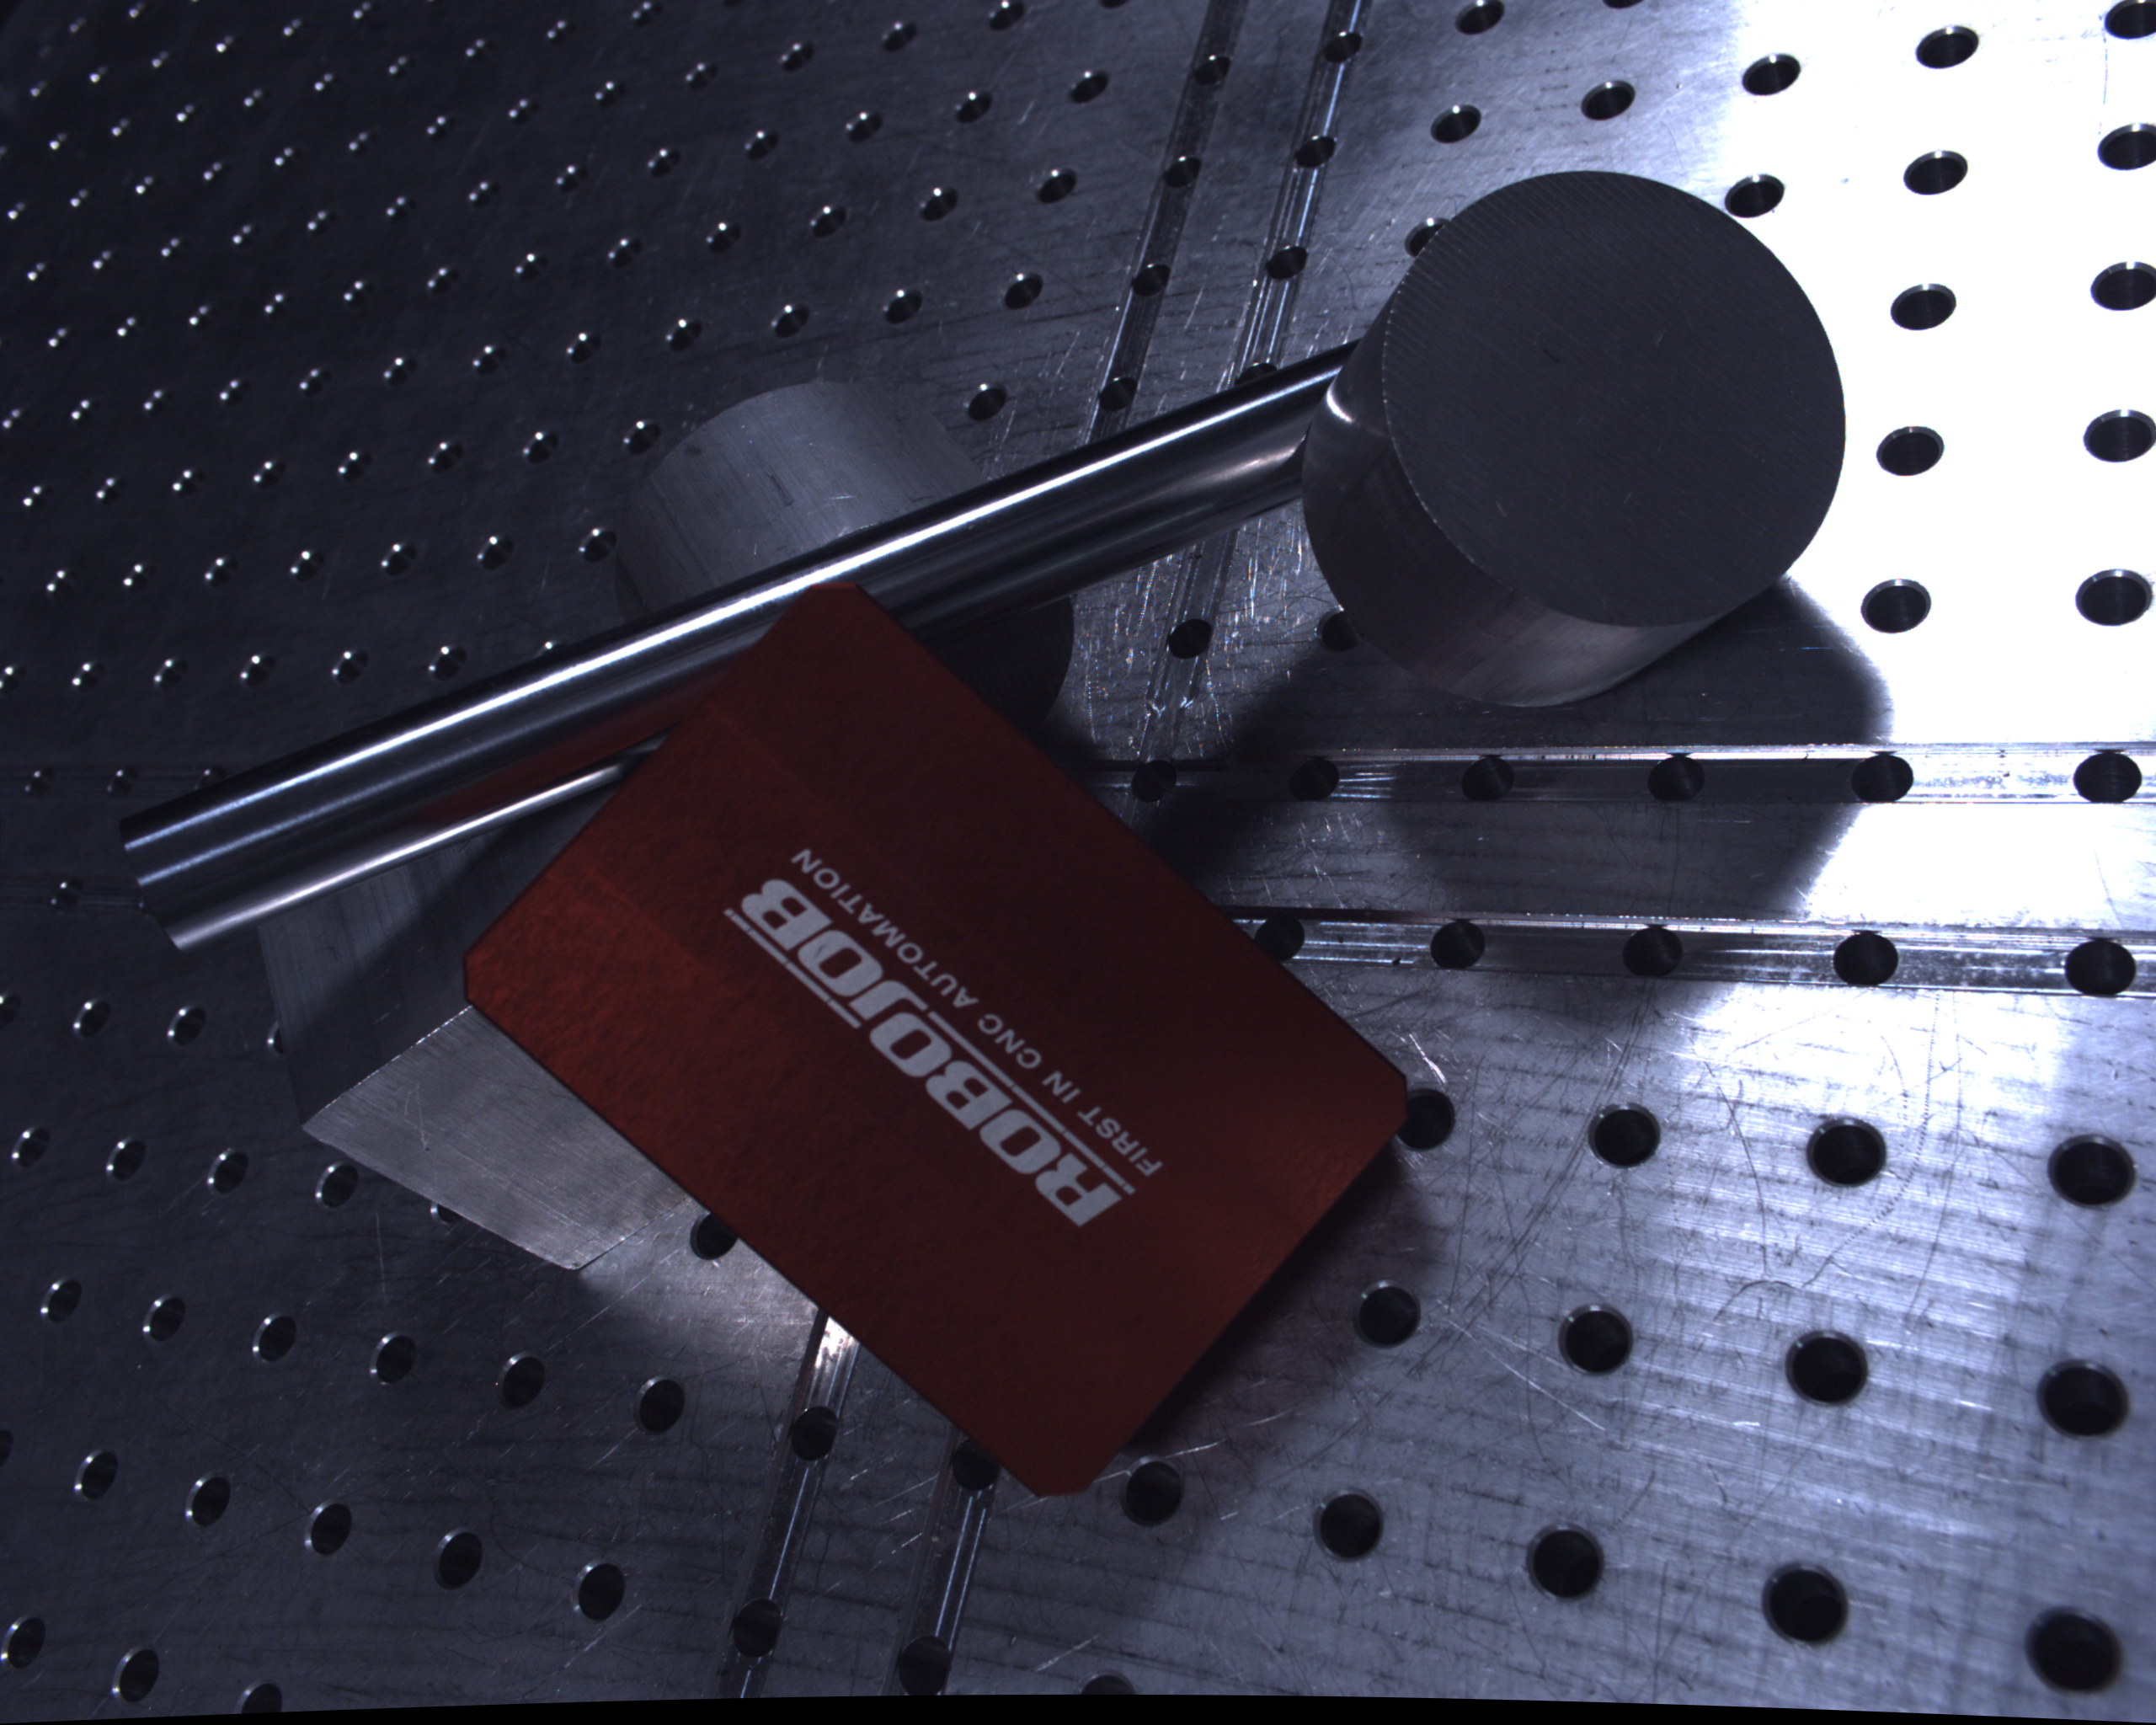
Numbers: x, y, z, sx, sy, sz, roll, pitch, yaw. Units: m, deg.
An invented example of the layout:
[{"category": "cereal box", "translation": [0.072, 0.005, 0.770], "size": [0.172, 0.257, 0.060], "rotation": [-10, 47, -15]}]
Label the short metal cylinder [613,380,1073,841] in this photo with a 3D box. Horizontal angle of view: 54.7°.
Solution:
[{"category": "short metal cylinder", "translation": [-0.048, -0.051, 0.428], "size": [0.080, 0.080, 0.050], "rotation": [-37, 51, 3]}]

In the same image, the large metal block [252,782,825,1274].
[{"category": "large metal block", "translation": [-0.096, 0.026, 0.405], "size": [0.080, 0.080, 0.050], "rotation": [-34, 52, 5]}]

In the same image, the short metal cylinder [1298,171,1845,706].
[{"category": "short metal cylinder", "translation": [0.084, -0.072, 0.366], "size": [0.081, 0.050, 0.080], "rotation": [2, 79, -9]}]

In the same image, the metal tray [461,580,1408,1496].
[{"category": "metal tray", "translation": [-0.023, 0.028, 0.347], "size": [0.130, 0.030, 0.090], "rotation": [42, 84, -3]}]

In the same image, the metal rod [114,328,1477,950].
[{"category": "metal rod", "translation": [-0.021, -0.056, 0.383], "size": [0.302, 0.025, 0.025], "rotation": [-24, 50, -14]}]
